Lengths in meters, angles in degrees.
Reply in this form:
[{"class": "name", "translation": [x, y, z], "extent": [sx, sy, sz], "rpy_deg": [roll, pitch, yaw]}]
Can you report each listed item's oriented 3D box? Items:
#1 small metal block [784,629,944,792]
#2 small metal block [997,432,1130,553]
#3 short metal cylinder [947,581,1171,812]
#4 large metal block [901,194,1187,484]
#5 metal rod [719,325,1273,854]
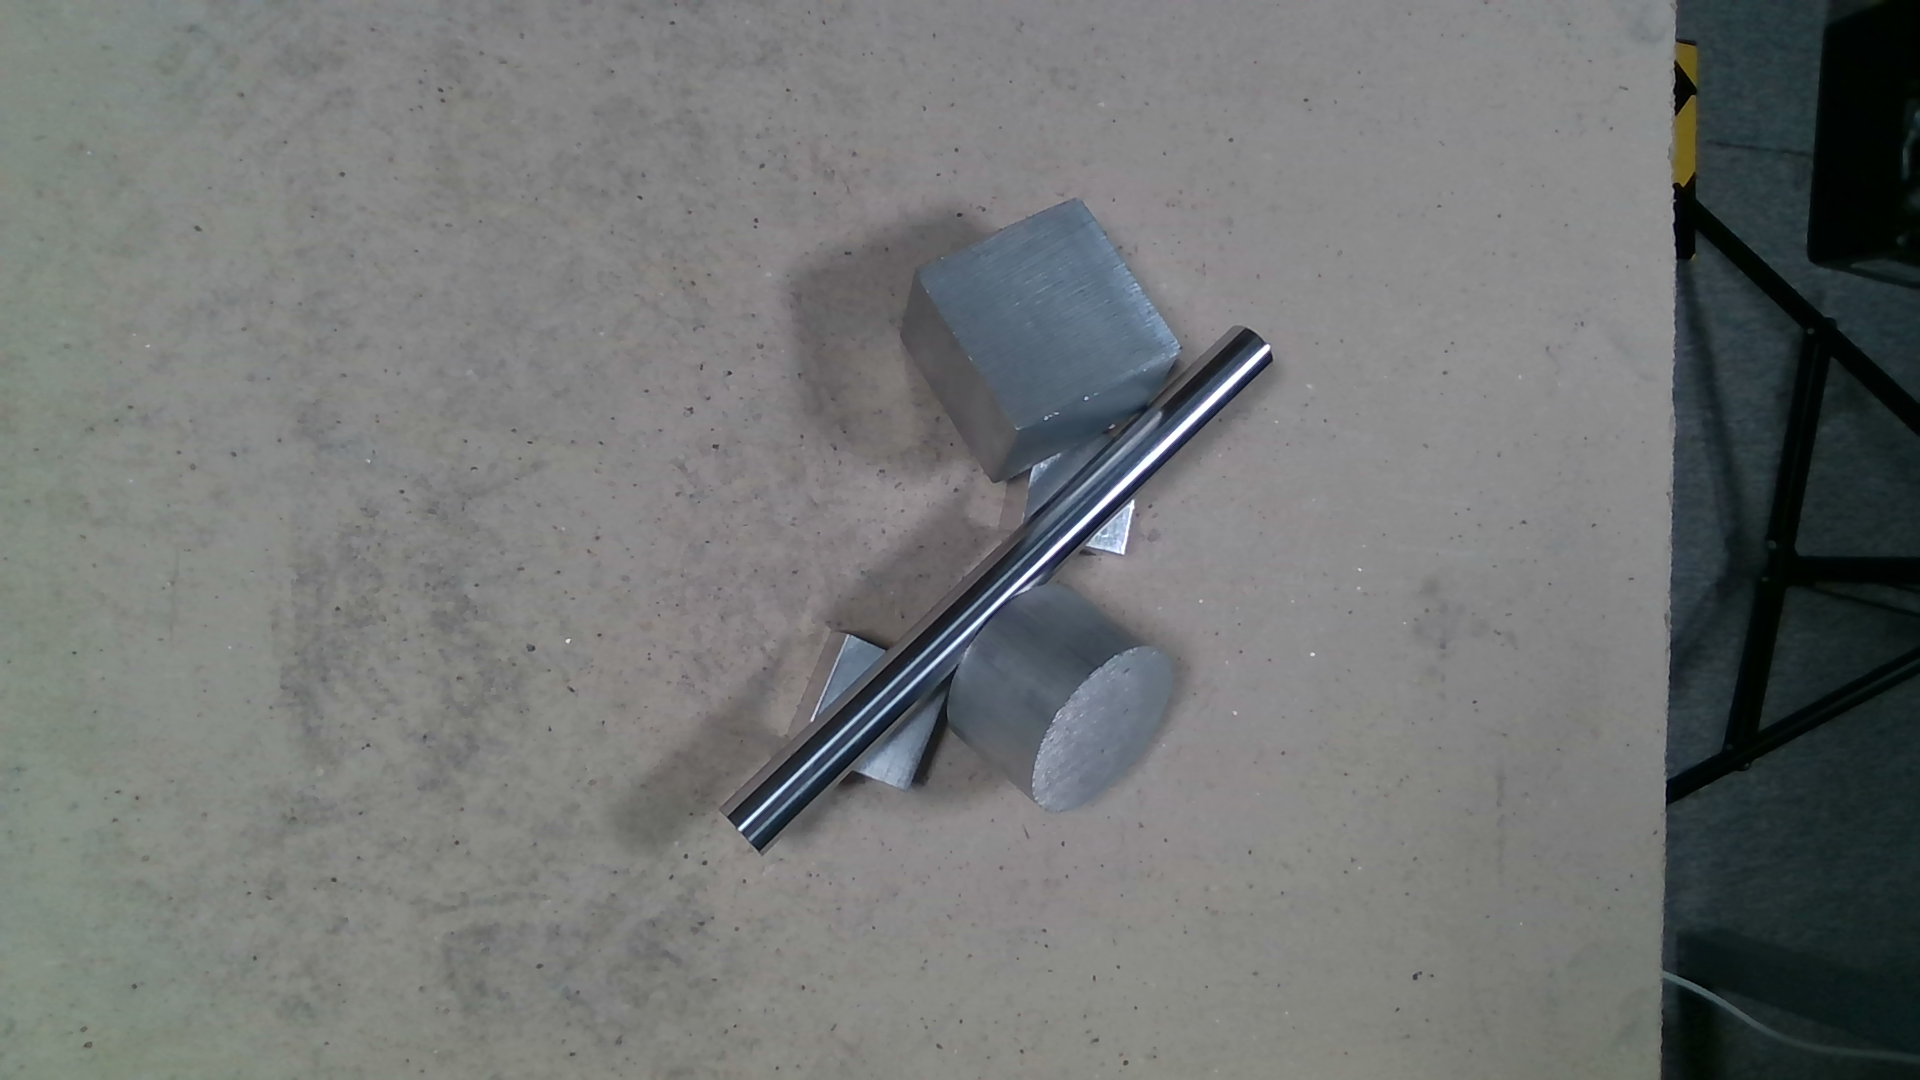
[{"class": "small metal block", "translation": [-0.038, 0.070, 0.573], "extent": [0.050, 0.025, 0.050], "rpy_deg": [26, 82, -19]}, {"class": "small metal block", "translation": [0.049, -0.024, 0.604], "extent": [0.050, 0.025, 0.050], "rpy_deg": [13, 86, -20]}, {"class": "short metal cylinder", "translation": [0.041, 0.064, 0.567], "extent": [0.080, 0.050, 0.080], "rpy_deg": [-30, 139, -30]}, {"class": "large metal block", "translation": [0.032, -0.083, 0.567], "extent": [0.080, 0.050, 0.080], "rpy_deg": [-27, 76, -18]}, {"class": "metal rod", "translation": [0.022, 0.013, 0.568], "extent": [0.300, 0.025, 0.025], "rpy_deg": [-43, 104, -15]}]
